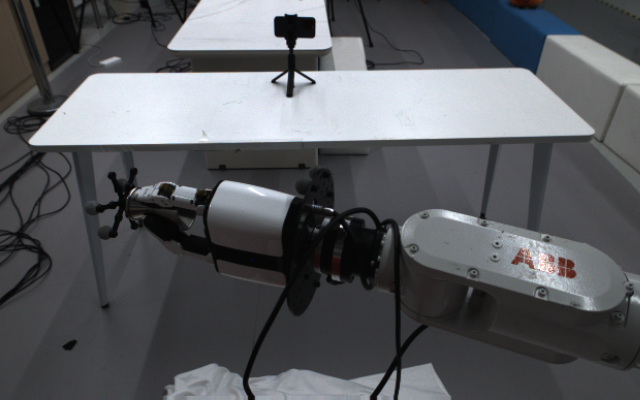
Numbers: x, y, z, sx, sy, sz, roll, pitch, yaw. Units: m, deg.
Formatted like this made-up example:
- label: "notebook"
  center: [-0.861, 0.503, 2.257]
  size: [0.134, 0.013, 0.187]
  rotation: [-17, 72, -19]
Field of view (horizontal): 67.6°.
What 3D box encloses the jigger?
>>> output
- label: "jigger"
  center: [-0.178, 0.005, 0.563]
  size: [0.071, 0.043, 0.043]
  rotation: [8, 35, 14]
